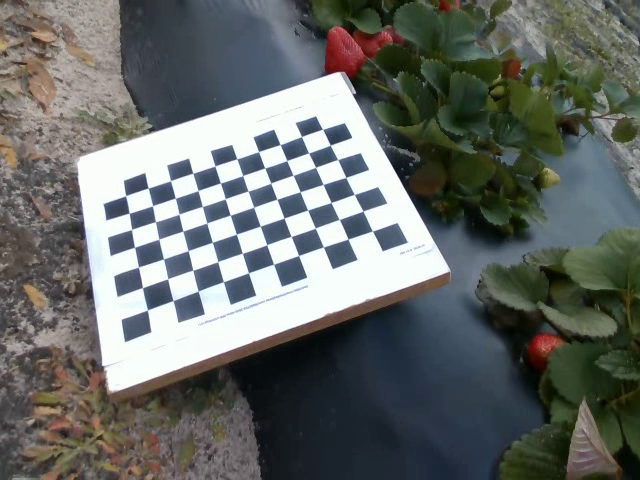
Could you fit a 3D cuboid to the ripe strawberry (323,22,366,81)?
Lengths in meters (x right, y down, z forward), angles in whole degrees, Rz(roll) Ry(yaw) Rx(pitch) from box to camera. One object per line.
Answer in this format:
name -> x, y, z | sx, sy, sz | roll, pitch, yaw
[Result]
ripe strawberry -> 0.022, -0.225, 0.712 | 0.057, 0.056, 0.065 | 14, -31, 39
